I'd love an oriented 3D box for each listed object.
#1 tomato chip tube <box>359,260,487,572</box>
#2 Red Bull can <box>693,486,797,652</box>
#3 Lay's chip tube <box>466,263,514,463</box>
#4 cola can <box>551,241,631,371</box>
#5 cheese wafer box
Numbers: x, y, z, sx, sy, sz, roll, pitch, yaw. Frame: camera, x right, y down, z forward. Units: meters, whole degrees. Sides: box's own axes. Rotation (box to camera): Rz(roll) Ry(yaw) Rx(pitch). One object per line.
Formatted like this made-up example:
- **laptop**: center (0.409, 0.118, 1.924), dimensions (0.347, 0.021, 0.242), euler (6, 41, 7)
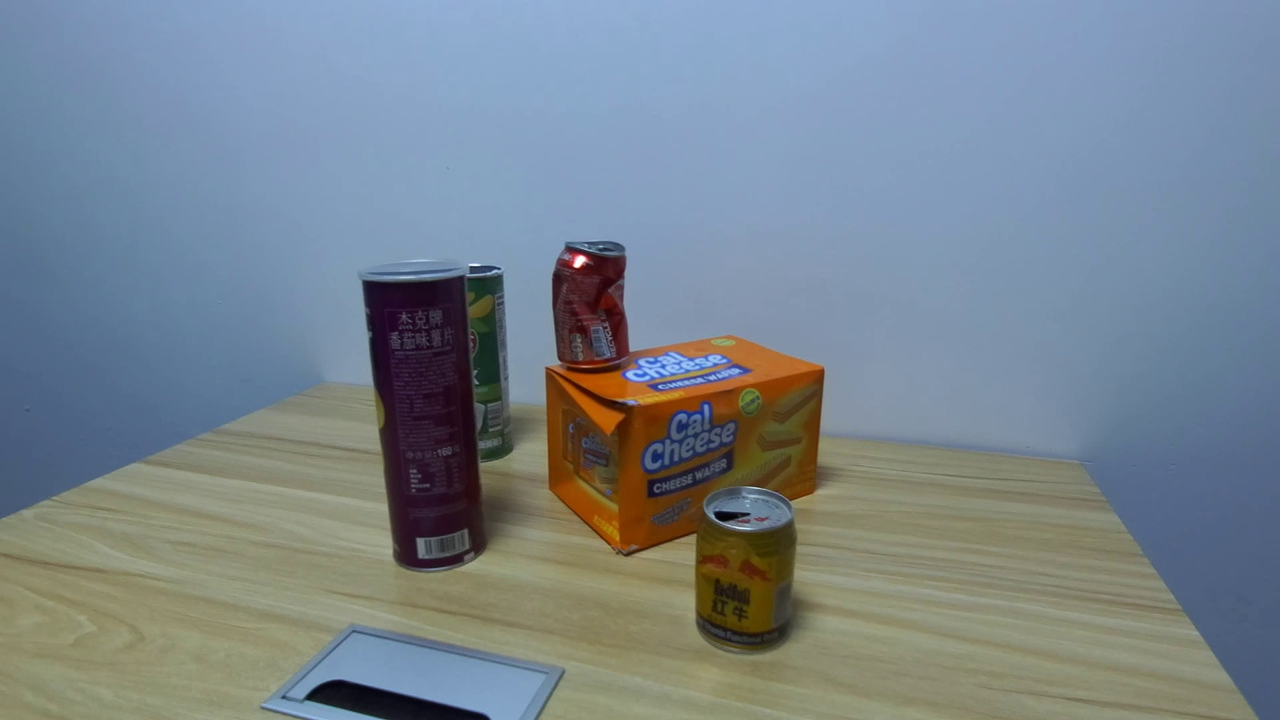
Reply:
- **tomato chip tube**: center (-0.167, 0.045, 0.559), dimensions (0.078, 0.234, 0.078), euler (0, 16, 0)
- **Red Bull can**: center (0.071, 0.139, 0.477), dimensions (0.069, 0.092, 0.069), euler (0, 19, 0)
- **Lay's chip tube**: center (-0.175, 0.003, 0.756), dimensions (0.071, 0.202, 0.071), euler (-1, 16, 0)
- **cola can**: center (-0.043, -0.049, 0.633), dimensions (0.069, 0.112, 0.065), euler (-3, 16, -12)
- **cheese wafer box**: center (0.040, 0.063, 0.664), dimensions (0.228, 0.137, 0.149), euler (-10, 20, -30)
